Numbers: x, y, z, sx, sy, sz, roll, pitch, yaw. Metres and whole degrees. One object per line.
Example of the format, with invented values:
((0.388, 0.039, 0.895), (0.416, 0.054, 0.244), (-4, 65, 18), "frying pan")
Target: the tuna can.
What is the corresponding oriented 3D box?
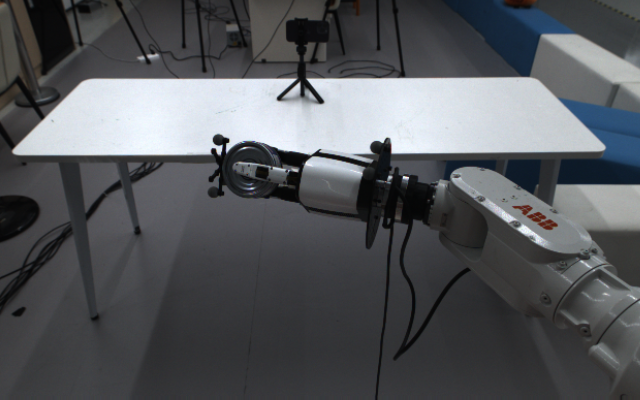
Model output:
((-0.100, -0.045, 0.721), (0.085, 0.085, 0.034), (10, 3, 11), "tuna can")
